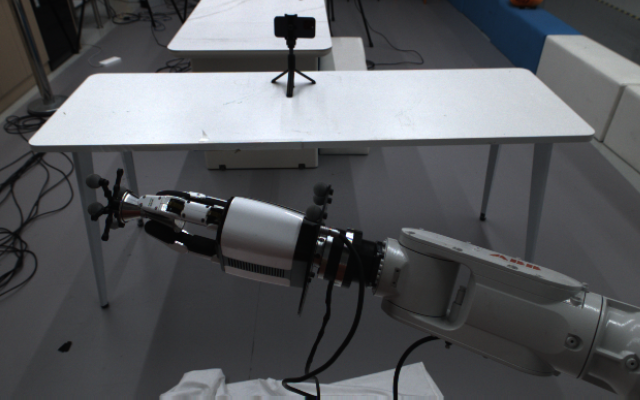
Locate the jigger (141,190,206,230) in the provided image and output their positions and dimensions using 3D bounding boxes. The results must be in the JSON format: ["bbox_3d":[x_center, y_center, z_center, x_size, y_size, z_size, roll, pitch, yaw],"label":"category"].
[{"bbox_3d":[-0.192,0.010,0.586,0.071,0.043,0.043,8,35,2],"label":"jigger"}]
